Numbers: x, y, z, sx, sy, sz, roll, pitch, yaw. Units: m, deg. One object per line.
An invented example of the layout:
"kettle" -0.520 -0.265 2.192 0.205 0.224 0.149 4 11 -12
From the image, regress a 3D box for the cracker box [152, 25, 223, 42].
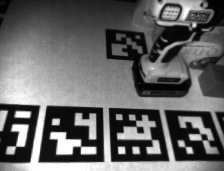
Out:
"cracker box" 0.196 -0.160 0.461 0.165 0.214 0.071 -1 55 -9

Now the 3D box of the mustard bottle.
"mustard bottle" 0.104 -0.245 0.505 0.096 0.191 0.058 13 56 -2

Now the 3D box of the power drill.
"power drill" 0.135 -0.079 0.376 0.185 0.187 0.057 1 53 -12

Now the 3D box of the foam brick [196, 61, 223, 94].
"foam brick" 0.238 -0.016 0.481 0.078 0.051 0.052 4 58 -9

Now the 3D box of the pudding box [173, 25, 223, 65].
"pudding box" 0.183 -0.090 0.478 0.114 0.090 0.038 1 55 -8
